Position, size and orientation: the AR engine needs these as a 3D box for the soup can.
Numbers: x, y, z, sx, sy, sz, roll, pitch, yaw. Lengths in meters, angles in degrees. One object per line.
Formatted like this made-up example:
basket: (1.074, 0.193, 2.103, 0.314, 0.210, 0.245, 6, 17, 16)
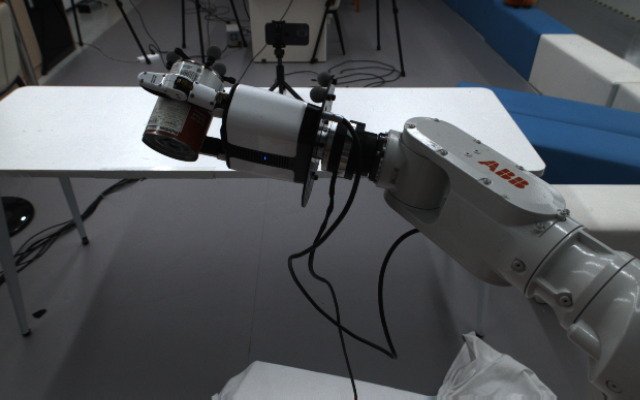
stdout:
soup can: (-0.160, -0.105, 0.577, 0.067, 0.067, 0.101, 11, 72, 13)
